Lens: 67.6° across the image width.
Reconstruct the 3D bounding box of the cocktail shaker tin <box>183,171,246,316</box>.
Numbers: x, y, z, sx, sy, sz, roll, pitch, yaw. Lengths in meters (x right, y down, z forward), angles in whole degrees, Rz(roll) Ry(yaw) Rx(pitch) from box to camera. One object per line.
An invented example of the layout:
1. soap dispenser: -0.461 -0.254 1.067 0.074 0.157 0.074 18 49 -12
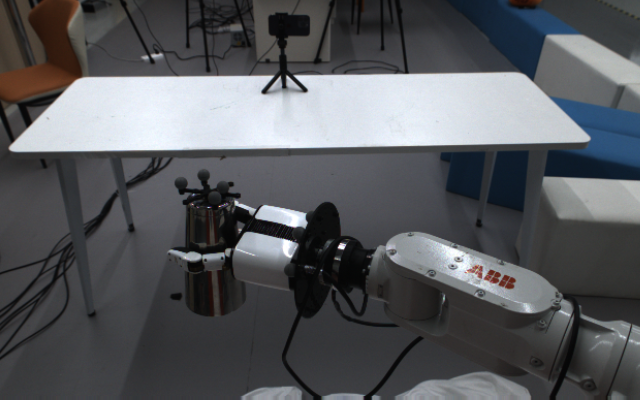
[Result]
1. cocktail shaker tin: -0.156 0.074 0.707 0.093 0.170 0.093 2 26 -1
